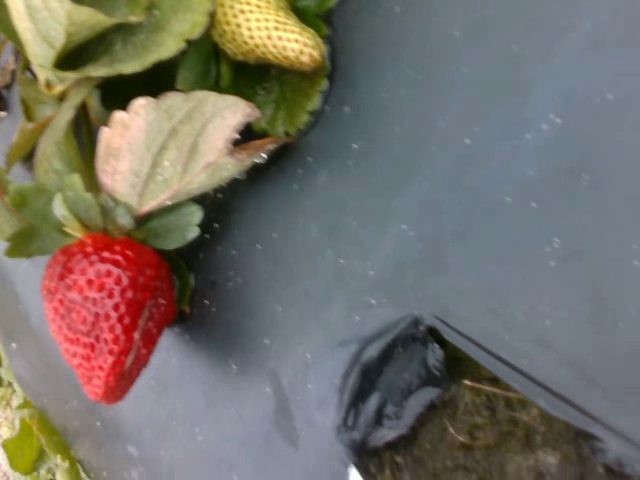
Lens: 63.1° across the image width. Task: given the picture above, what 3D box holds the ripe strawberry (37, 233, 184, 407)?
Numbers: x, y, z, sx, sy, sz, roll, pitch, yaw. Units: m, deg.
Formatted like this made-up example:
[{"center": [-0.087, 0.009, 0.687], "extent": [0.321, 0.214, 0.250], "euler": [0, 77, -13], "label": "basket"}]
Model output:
[{"center": [-0.070, 0.026, 0.167], "extent": [0.048, 0.064, 0.046], "euler": [-7, -27, -1], "label": "ripe strawberry"}]
